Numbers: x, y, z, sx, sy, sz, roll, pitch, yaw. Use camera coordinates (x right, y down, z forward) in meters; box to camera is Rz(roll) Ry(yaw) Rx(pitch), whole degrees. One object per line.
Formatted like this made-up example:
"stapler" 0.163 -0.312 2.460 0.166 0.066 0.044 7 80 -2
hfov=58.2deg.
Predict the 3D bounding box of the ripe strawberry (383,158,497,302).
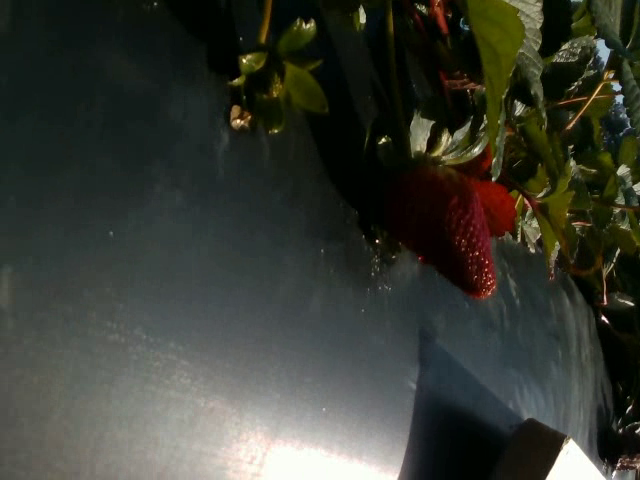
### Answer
"ripe strawberry" 0.044 -0.002 0.191 0.040 0.056 0.041 -21 -16 -34
